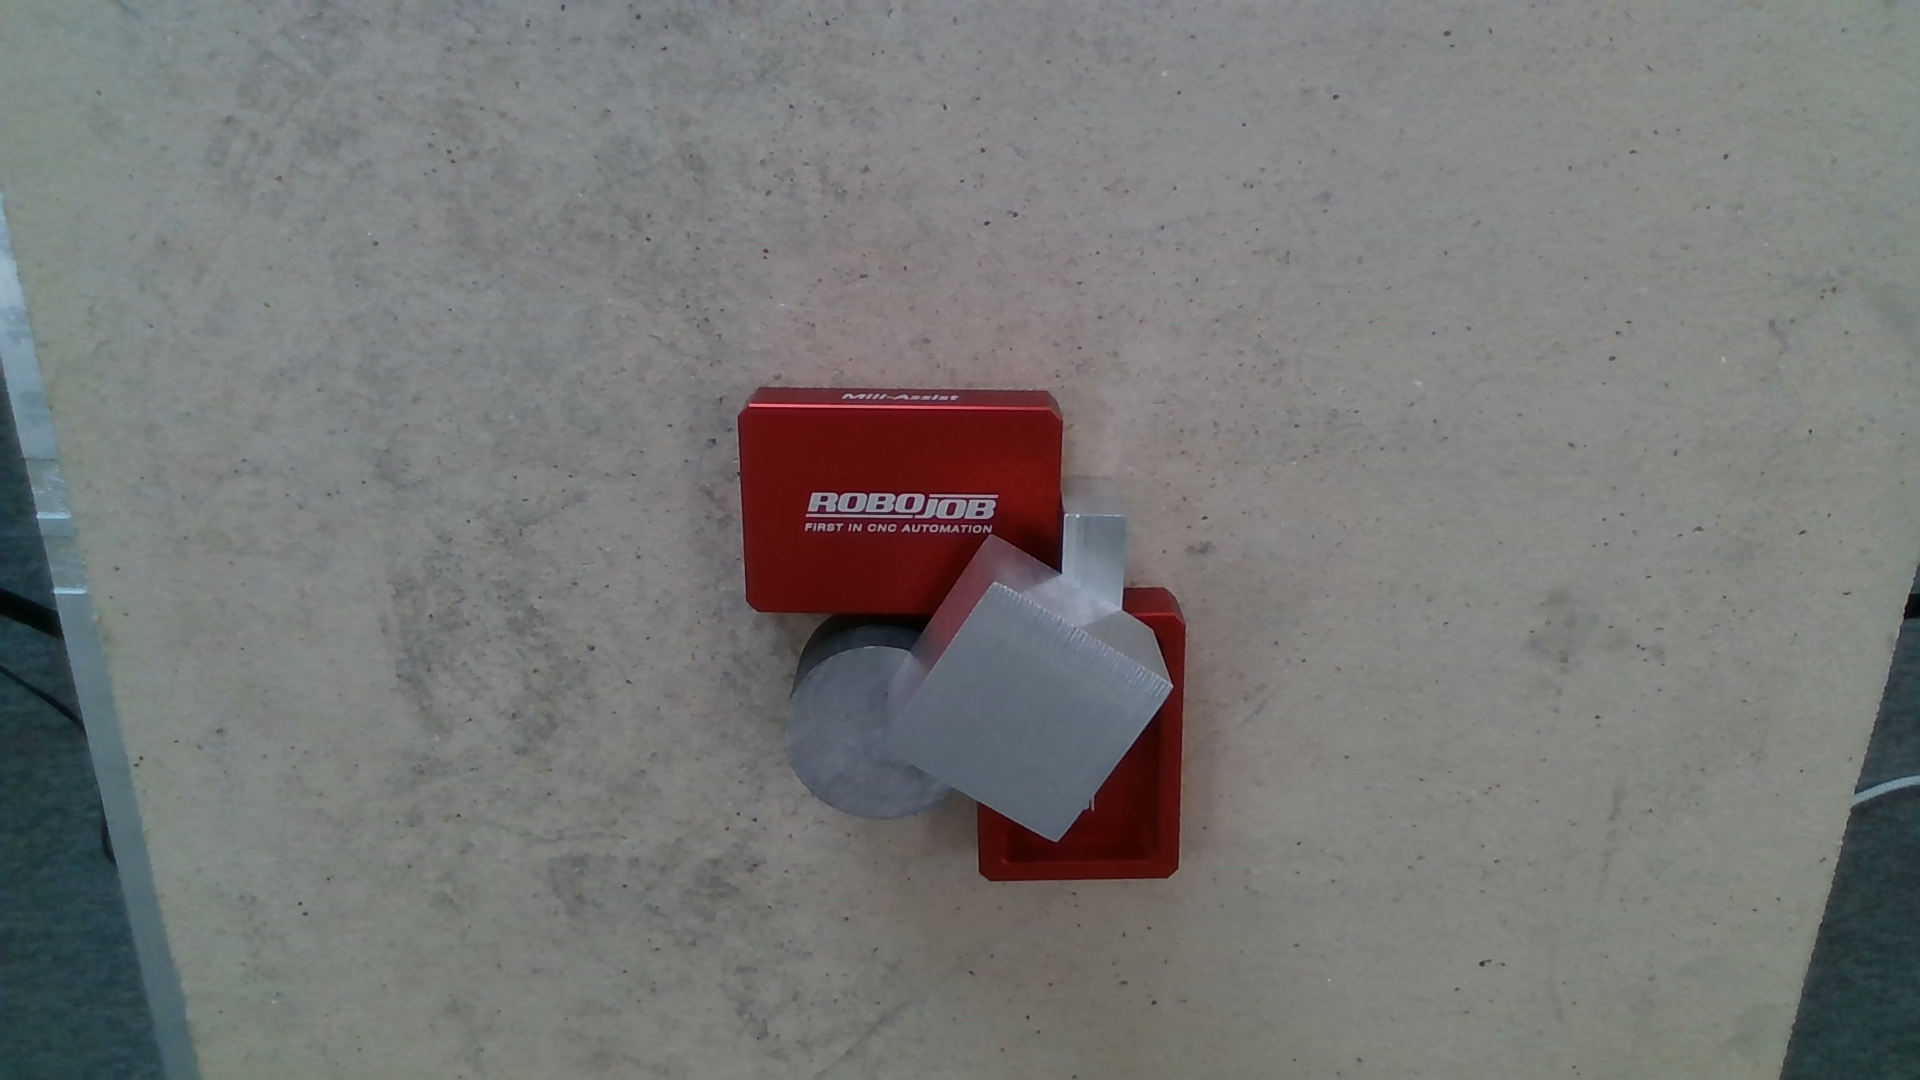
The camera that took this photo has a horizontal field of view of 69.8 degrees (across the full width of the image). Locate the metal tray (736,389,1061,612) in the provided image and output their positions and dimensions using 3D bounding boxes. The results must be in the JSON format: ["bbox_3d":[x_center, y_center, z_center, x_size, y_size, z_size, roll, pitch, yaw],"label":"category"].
[{"bbox_3d":[-0.025,-0.017,0.577,0.130,0.030,0.090,1,110,0],"label":"metal tray"}]

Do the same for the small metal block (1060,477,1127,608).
[{"bbox_3d":[0.053,0.004,0.574,0.025,0.050,0.050,1,110,0],"label":"small metal block"}]

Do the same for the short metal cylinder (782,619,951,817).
[{"bbox_3d":[-0.034,0.072,0.598,0.080,0.050,0.080,0,110,0],"label":"short metal cylinder"}]

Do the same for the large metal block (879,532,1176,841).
[{"bbox_3d":[0.025,0.056,0.538,0.080,0.050,0.080,31,107,-11],"label":"large metal block"}]

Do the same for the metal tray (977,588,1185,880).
[{"bbox_3d":[0.052,0.087,0.615,0.090,0.030,0.130,-2,110,1],"label":"metal tray"}]
